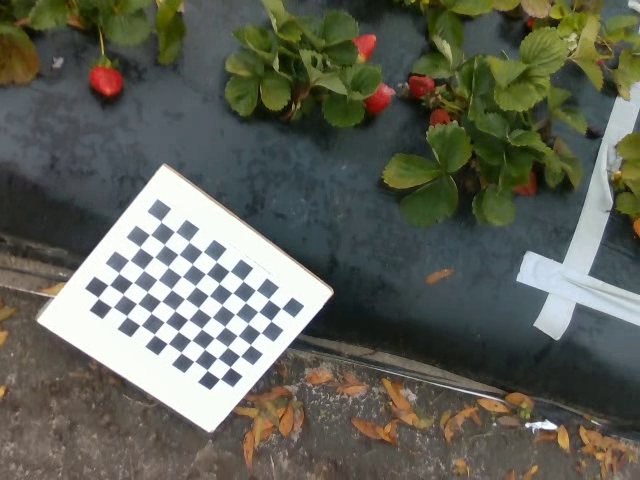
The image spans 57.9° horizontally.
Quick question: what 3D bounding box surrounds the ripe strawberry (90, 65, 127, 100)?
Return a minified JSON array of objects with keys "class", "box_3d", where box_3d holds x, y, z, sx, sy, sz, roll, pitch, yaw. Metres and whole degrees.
[{"class":"ripe strawberry","box_3d":[-0.289,-0.219,0.780,0.045,0.053,0.048,-13,-32,-1]}]
